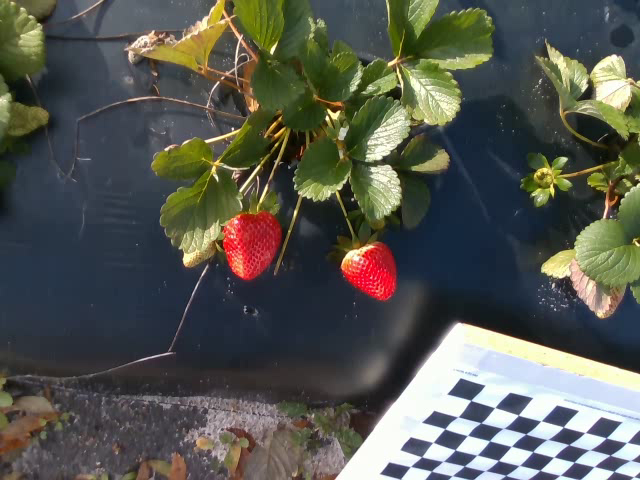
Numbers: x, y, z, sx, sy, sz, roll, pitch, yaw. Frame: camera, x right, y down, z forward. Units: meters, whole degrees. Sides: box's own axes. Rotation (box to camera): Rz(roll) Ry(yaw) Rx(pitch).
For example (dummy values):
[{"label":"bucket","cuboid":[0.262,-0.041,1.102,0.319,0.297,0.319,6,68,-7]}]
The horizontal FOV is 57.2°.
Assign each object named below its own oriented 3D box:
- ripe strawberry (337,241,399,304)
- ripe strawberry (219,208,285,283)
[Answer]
[{"label":"ripe strawberry","cuboid":[0.030,0.020,0.320,0.033,0.039,0.037,11,-37,-32]},{"label":"ripe strawberry","cuboid":[-0.036,0.004,0.305,0.035,0.036,0.041,8,-26,1]}]
